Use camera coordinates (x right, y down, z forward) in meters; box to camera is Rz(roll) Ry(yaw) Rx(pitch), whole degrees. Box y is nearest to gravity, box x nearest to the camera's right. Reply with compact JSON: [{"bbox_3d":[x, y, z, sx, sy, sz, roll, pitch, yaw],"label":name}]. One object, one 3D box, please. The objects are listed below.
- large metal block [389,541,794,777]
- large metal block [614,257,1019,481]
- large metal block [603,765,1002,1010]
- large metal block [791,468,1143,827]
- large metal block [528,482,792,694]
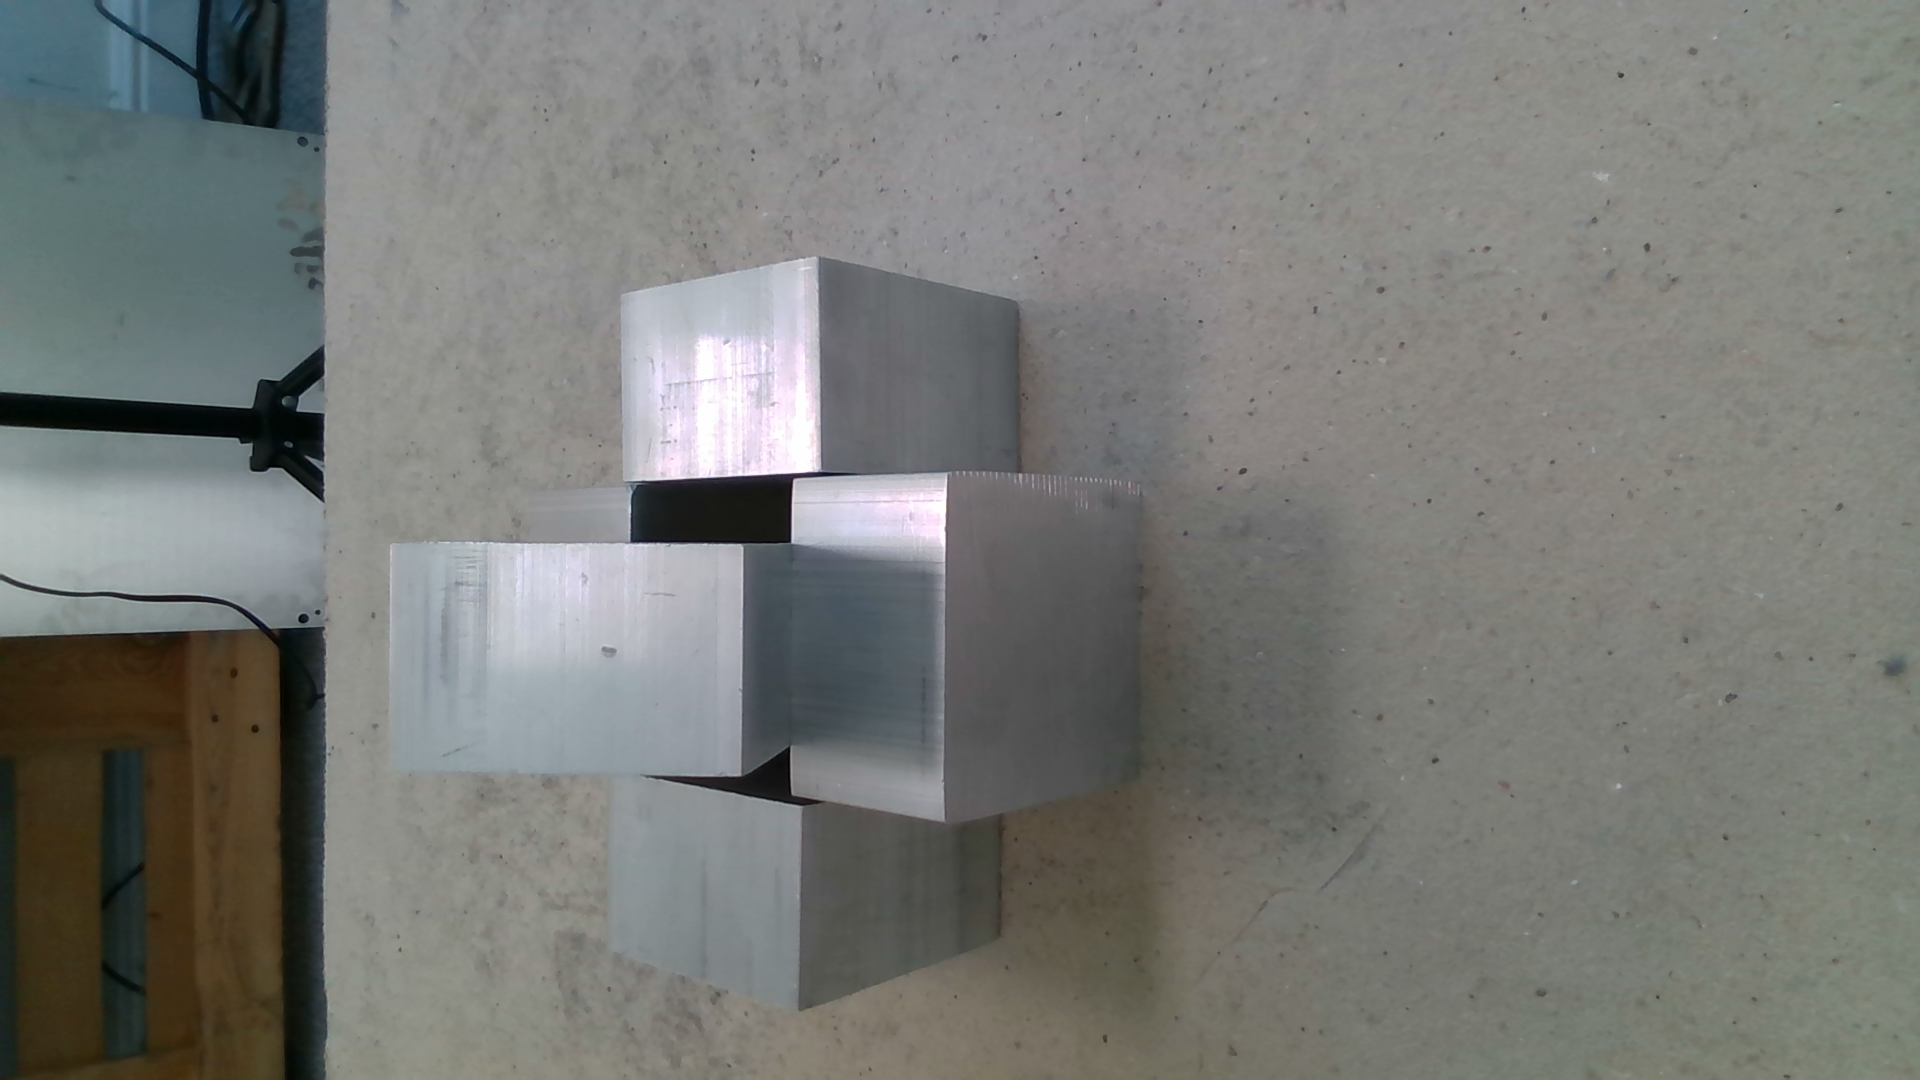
[{"bbox_3d":[-0.082,0.025,0.339,0.080,0.080,0.050,1,91,6],"label":"large metal block"},{"bbox_3d":[-0.040,-0.043,0.387,0.080,0.080,0.050,0,90,40],"label":"large metal block"},{"bbox_3d":[-0.044,0.089,0.393,0.080,0.080,0.050,1,91,40],"label":"large metal block"},{"bbox_3d":[0.004,0.024,0.353,0.050,0.080,0.080,1,91,40],"label":"large metal block"},{"bbox_3d":[-0.084,0.024,0.427,0.050,0.080,0.080,0,90,40],"label":"large metal block"}]
